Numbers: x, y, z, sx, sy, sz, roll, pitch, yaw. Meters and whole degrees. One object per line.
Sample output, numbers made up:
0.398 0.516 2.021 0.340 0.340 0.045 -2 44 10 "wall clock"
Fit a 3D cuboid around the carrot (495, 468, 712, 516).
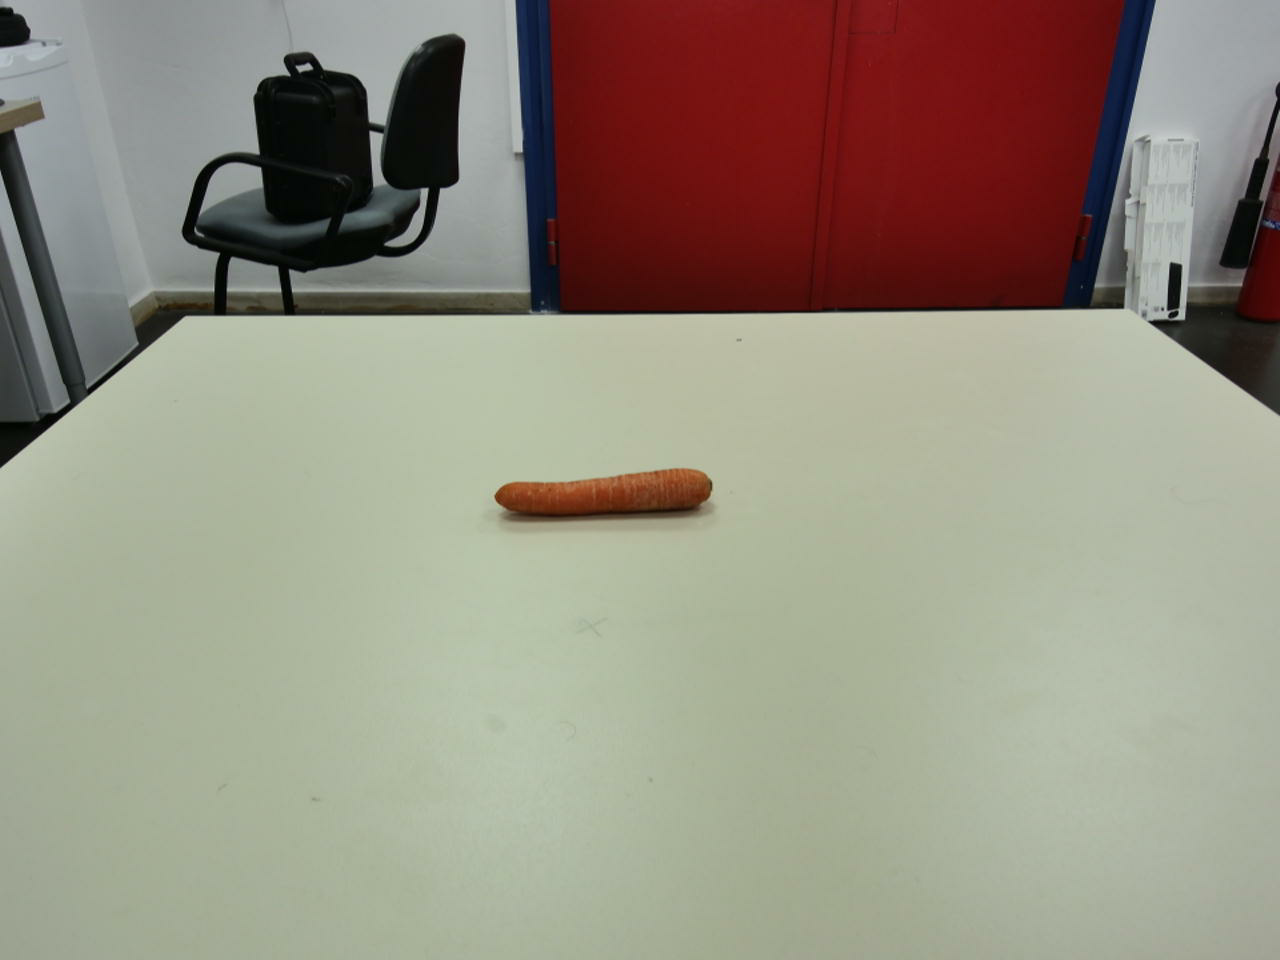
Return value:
-0.020 0.007 0.560 0.122 0.023 0.024 -1 26 -3 "carrot"
